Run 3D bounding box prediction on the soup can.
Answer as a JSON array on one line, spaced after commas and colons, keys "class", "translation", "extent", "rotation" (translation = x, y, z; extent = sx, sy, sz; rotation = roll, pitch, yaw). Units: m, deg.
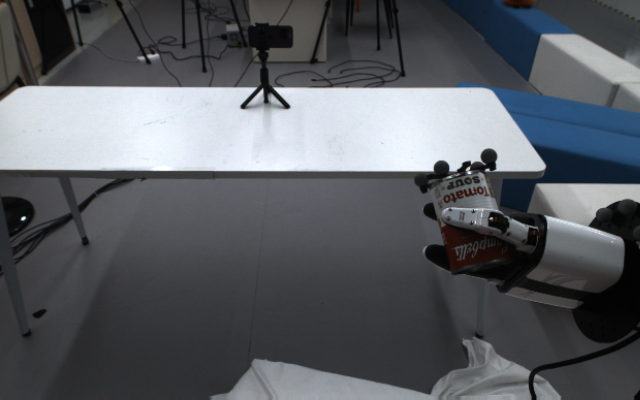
[{"class": "soup can", "translation": [0.169, 0.024, 0.540], "extent": [0.067, 0.067, 0.101], "rotation": [-8, 74, -14]}]
